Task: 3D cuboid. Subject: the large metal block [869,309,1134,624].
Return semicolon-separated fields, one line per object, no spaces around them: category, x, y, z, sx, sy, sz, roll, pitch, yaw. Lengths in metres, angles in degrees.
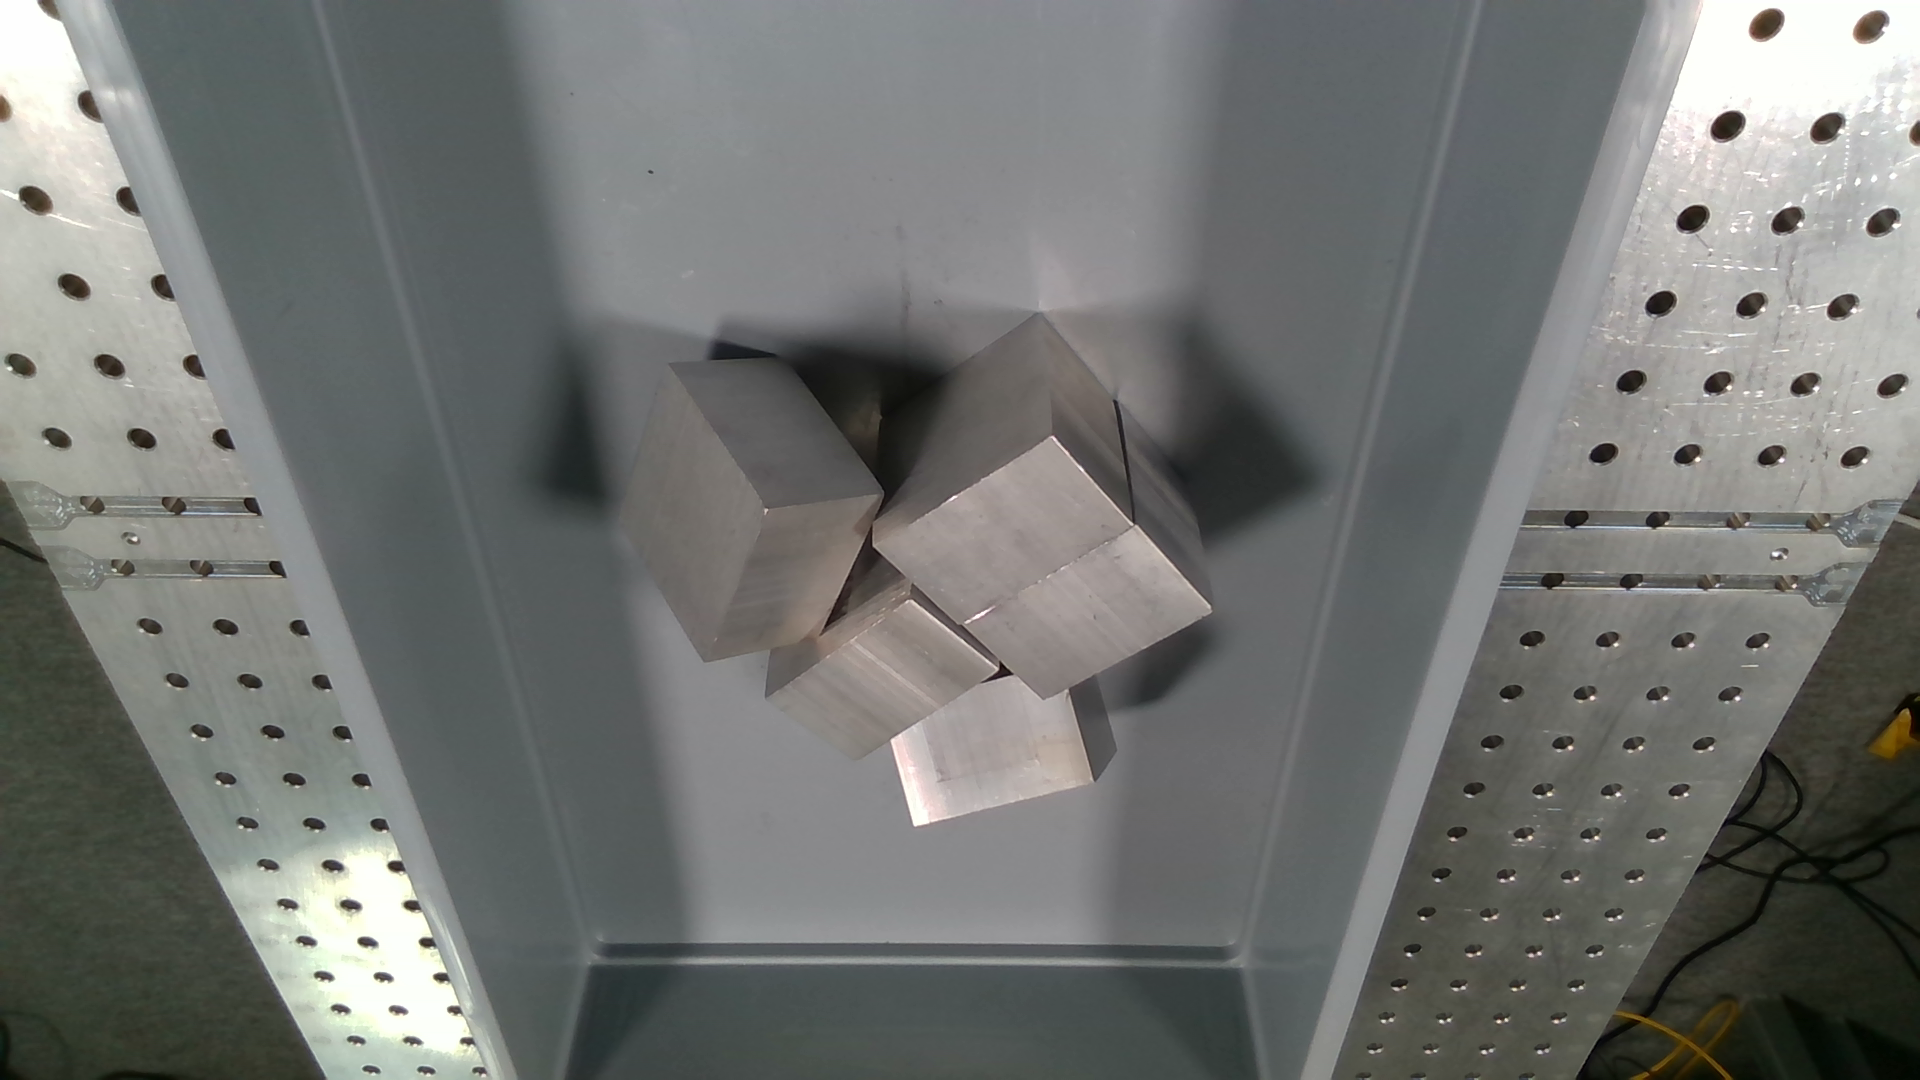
large metal block;0.014;-0.028;0.519;0.080;0.080;0.050;-31;124;23

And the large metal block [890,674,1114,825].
large metal block;0.020;0.082;0.603;0.080;0.080;0.050;-16;88;13

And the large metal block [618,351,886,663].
large metal block;-0.082;-0.014;0.522;0.050;0.080;0.080;-10;141;-39

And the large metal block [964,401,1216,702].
large metal block;0.048;0.004;0.545;0.080;0.080;0.050;-32;123;24

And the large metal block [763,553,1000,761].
large metal block;-0.031;0.030;0.567;0.080;0.080;0.050;-34;122;25
